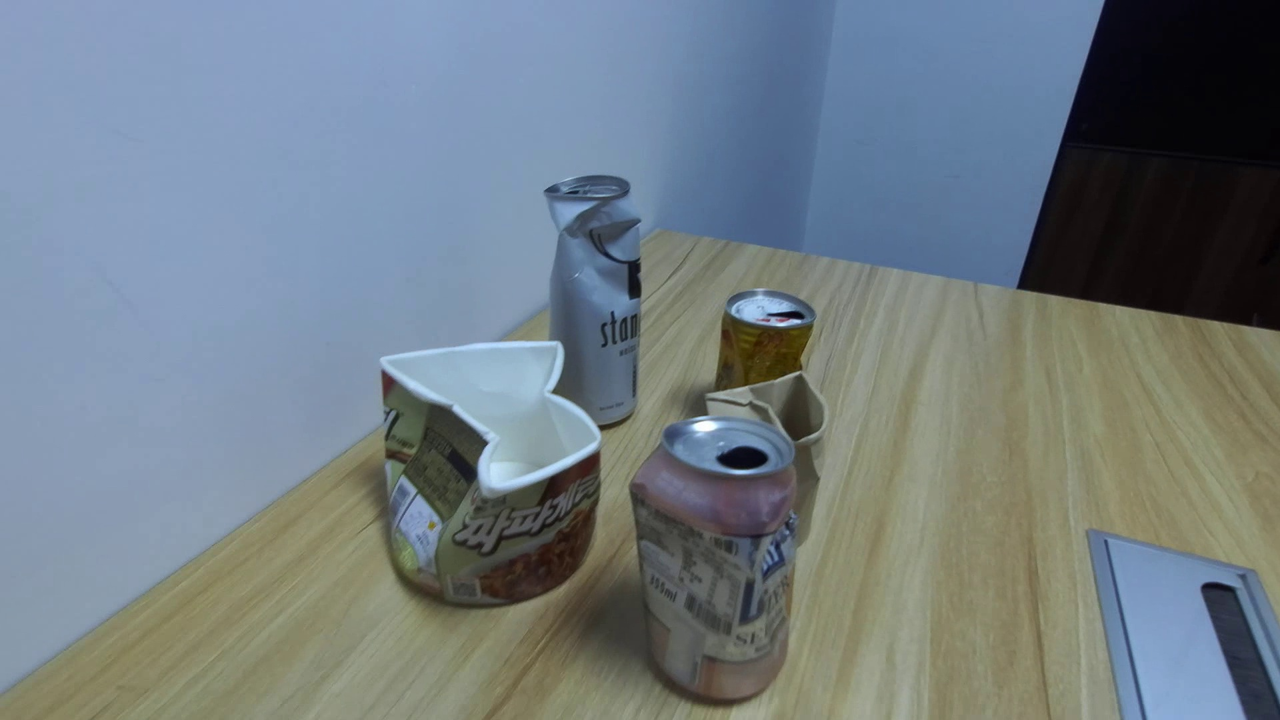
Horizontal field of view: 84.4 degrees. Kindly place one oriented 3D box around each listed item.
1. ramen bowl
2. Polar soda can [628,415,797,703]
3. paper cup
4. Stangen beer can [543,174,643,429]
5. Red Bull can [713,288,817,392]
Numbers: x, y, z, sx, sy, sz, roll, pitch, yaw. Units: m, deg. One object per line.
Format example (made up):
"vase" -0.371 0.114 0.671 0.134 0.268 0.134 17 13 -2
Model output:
"ramen bowl" -0.077 0.061 0.370 0.112 0.093 0.128 -6 31 -16
"Polar soda can" 0.040 0.100 0.352 0.066 0.121 0.071 10 17 38
"paper cup" 0.070 0.058 0.396 0.058 0.083 0.066 -4 30 -5
"Stangen beer can" -0.033 -0.036 0.477 0.066 0.166 0.065 -14 33 -22
"Red Bull can" 0.085 0.005 0.482 0.072 0.092 0.072 1 27 0
